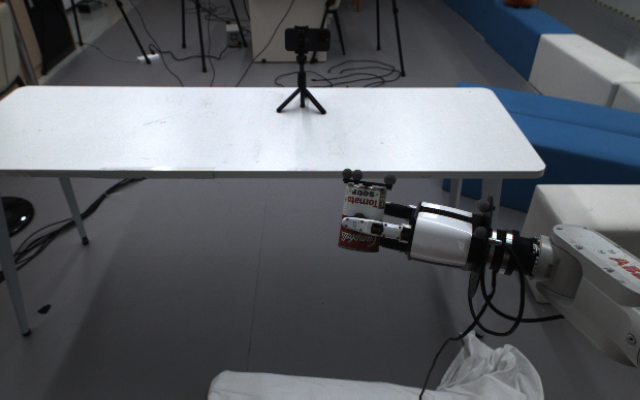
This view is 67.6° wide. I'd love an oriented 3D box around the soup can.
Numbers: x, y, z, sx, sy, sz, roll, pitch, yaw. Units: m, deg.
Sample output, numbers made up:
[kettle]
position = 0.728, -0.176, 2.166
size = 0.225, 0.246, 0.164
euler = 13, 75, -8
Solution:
[soup can]
position = 0.069, 0.027, 0.776
size = 0.067, 0.101, 0.067
euler = 7, 4, 0
